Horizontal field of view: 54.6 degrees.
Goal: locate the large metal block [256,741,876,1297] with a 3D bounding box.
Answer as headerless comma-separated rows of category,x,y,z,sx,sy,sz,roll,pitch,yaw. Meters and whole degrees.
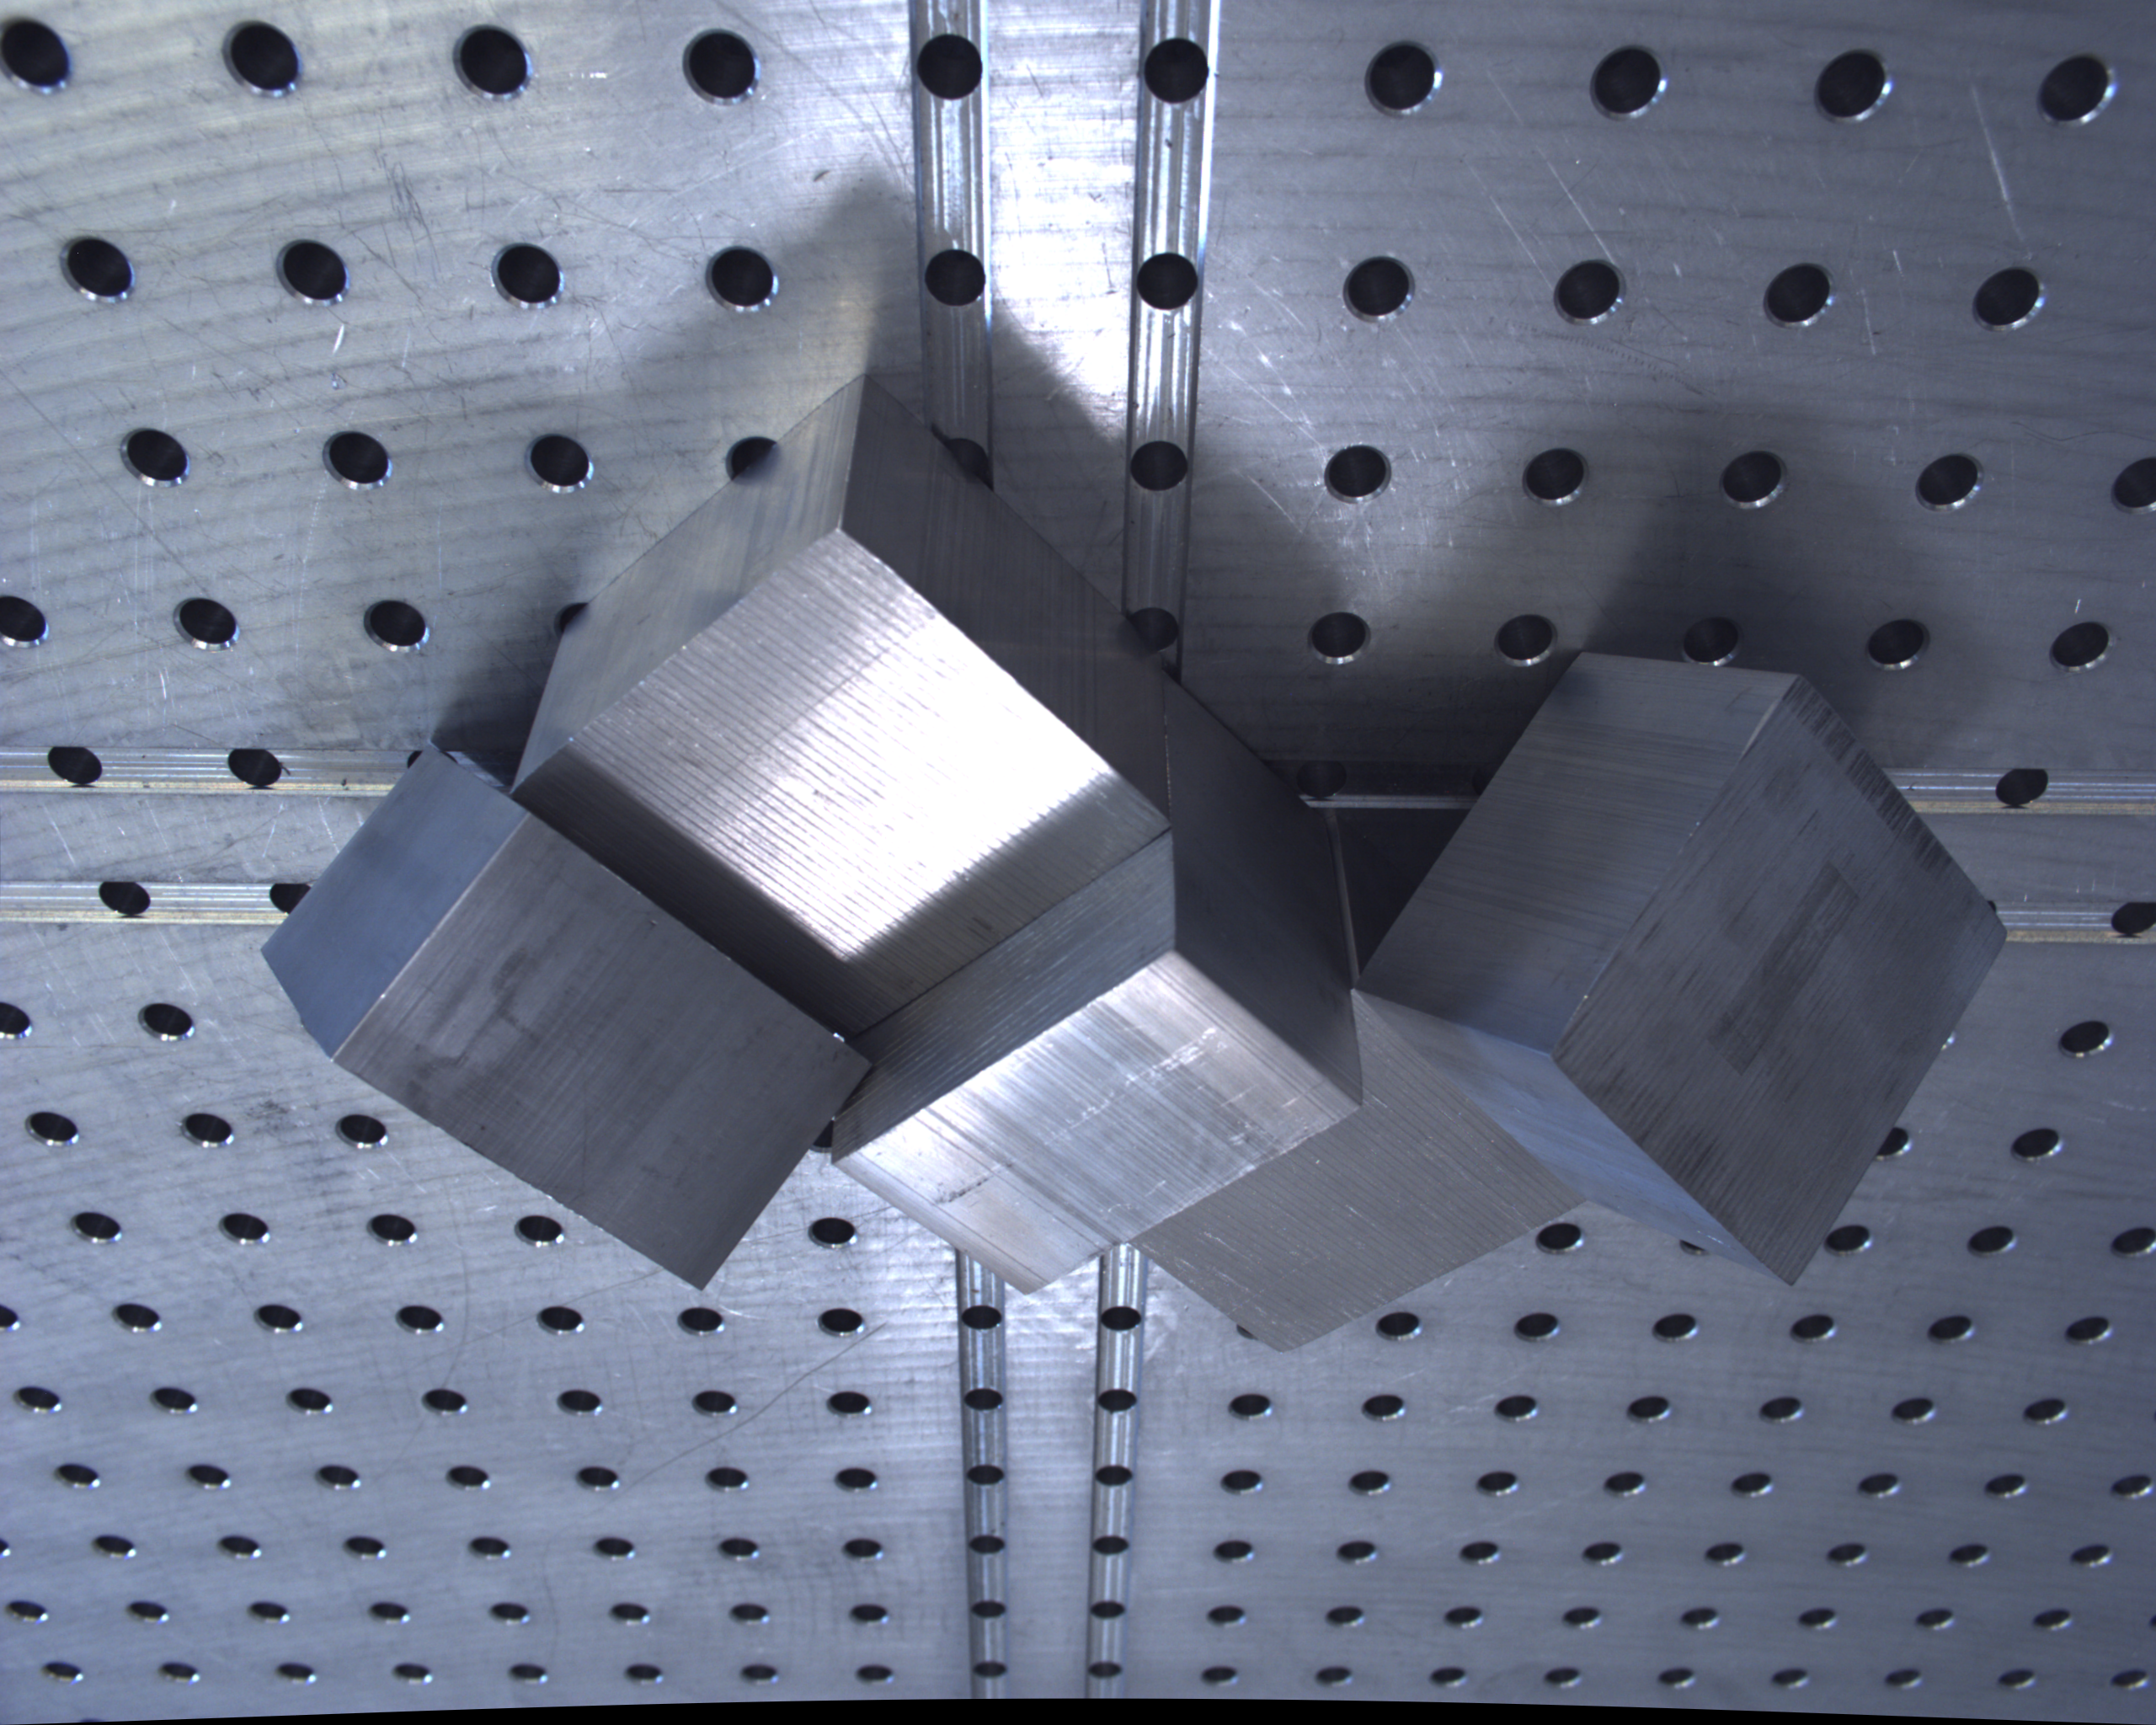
large metal block,-0.097,0.027,0.388,0.080,0.080,0.050,41,80,-29

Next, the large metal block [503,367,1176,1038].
large metal block,-0.040,-0.026,0.373,0.080,0.050,0.080,-33,123,26

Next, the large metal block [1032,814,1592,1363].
large metal block,0.047,0.049,0.437,0.080,0.050,0.080,-34,121,25

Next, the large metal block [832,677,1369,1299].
large metal block,0.003,0.022,0.393,0.080,0.080,0.050,-35,123,25

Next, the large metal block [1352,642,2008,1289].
large metal block,0.111,0.018,0.383,0.080,0.050,0.080,41,79,-30
